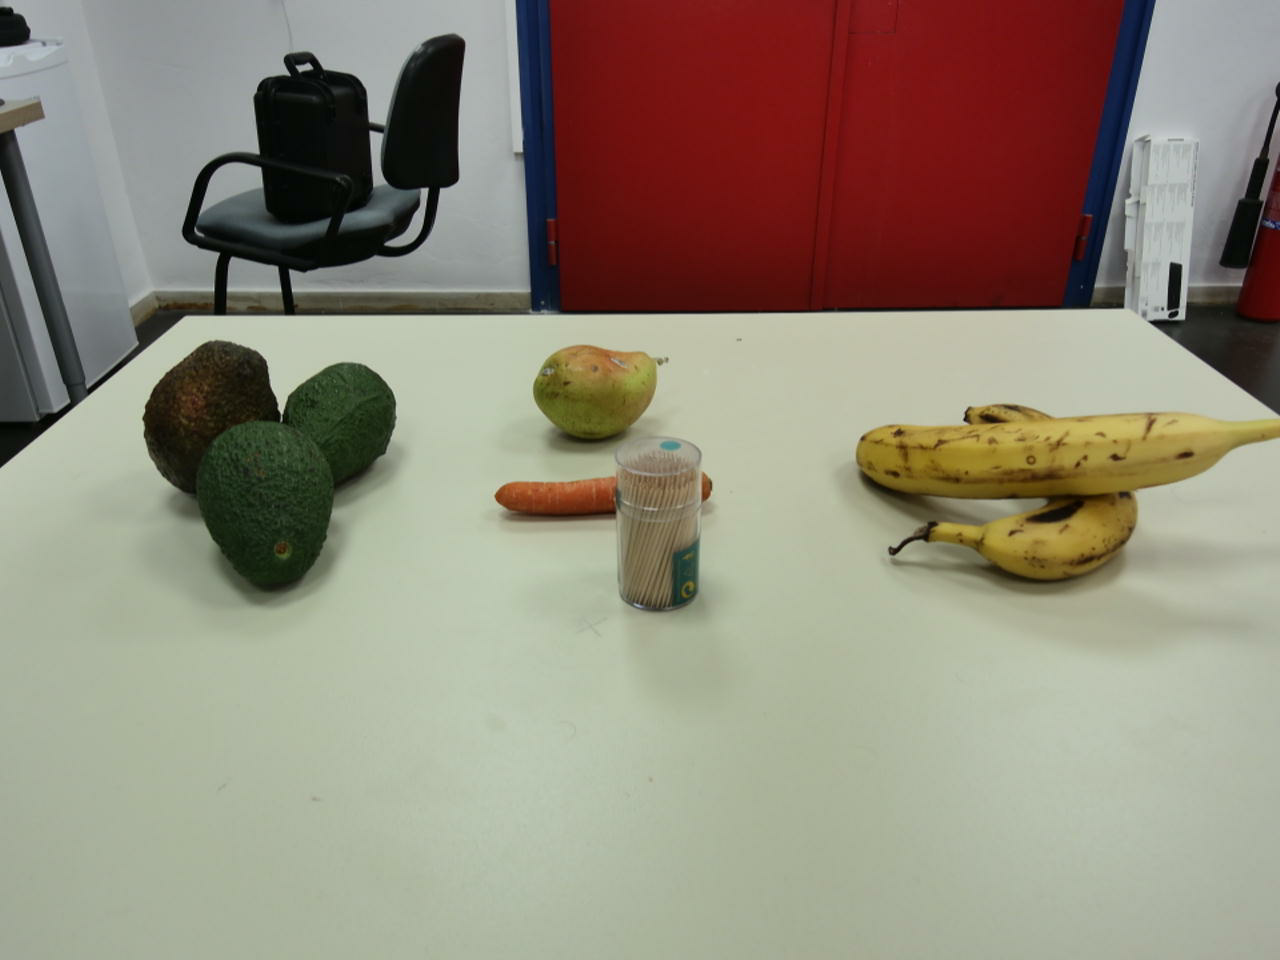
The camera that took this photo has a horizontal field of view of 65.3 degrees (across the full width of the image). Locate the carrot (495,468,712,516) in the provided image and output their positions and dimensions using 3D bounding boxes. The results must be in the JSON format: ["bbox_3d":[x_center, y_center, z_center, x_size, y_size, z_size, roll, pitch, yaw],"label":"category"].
[{"bbox_3d":[-0.020,0.007,0.560,0.122,0.023,0.024,-1,26,-3],"label":"carrot"}]
